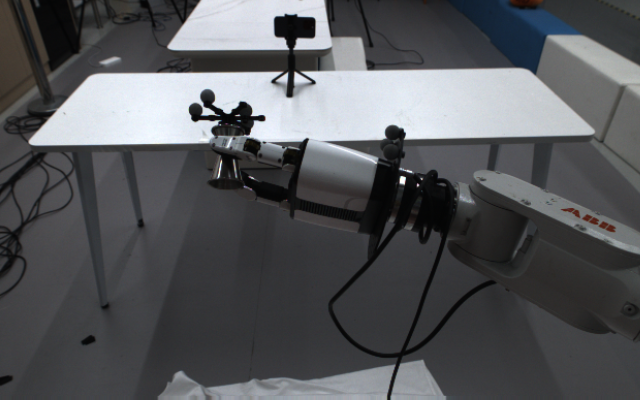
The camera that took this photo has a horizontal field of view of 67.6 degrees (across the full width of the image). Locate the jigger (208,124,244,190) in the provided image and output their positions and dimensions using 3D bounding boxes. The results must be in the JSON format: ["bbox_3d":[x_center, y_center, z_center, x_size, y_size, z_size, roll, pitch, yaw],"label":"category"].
[{"bbox_3d":[-0.110,-0.051,0.574,0.043,0.043,0.071,0,75,-3],"label":"jigger"}]
